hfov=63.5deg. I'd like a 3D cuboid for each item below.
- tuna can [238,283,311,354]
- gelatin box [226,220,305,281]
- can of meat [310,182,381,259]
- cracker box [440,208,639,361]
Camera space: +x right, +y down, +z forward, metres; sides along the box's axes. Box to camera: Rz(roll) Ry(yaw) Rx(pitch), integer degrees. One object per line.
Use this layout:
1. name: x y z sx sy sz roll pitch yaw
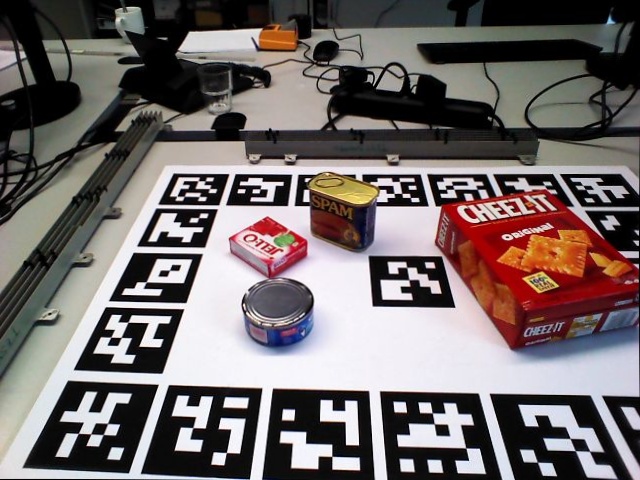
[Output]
1. tuna can: -0.053 0.093 0.615 0.086 0.034 0.085 -2 39 1
2. gelatin box: -0.077 0.013 0.735 0.073 0.030 0.089 -28 46 -36
3. can of meat: 0.038 -0.027 0.753 0.102 0.084 0.057 20 41 28
4. cracker box: 0.273 0.043 0.653 0.164 0.072 0.213 -7 35 -11
